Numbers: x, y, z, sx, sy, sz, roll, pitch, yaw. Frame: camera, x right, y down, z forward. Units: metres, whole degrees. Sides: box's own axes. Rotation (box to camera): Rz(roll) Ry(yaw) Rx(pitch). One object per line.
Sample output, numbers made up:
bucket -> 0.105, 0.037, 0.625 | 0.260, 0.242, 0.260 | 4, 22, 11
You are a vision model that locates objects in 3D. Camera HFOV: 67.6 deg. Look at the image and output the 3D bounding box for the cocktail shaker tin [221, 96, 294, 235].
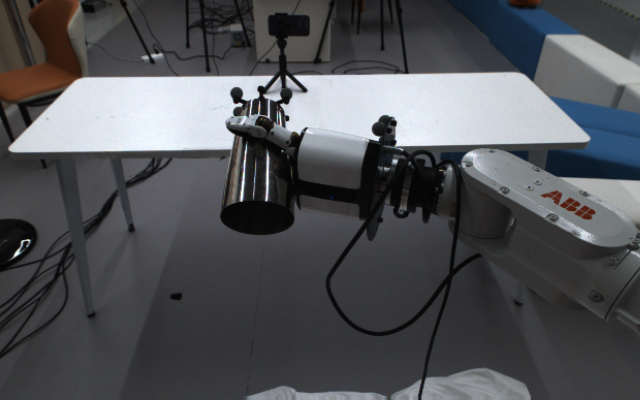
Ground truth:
cocktail shaker tin -> -0.081, -0.051, 0.639 | 0.093, 0.093, 0.170 | 0, 59, -3
